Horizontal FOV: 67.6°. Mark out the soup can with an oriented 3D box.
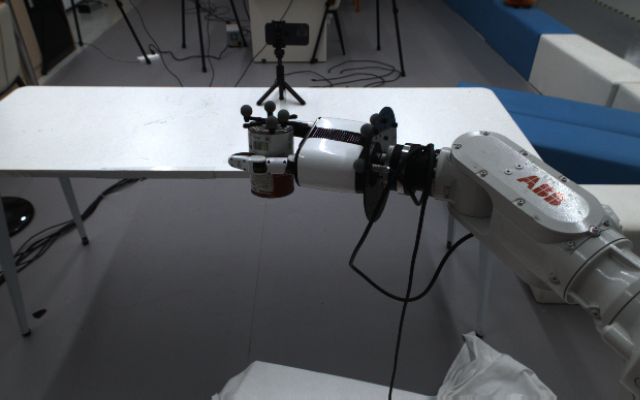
[{"bbox_3d":[-0.071,-0.061,0.714,0.067,0.101,0.067,1,25,0],"label":"soup can"}]
